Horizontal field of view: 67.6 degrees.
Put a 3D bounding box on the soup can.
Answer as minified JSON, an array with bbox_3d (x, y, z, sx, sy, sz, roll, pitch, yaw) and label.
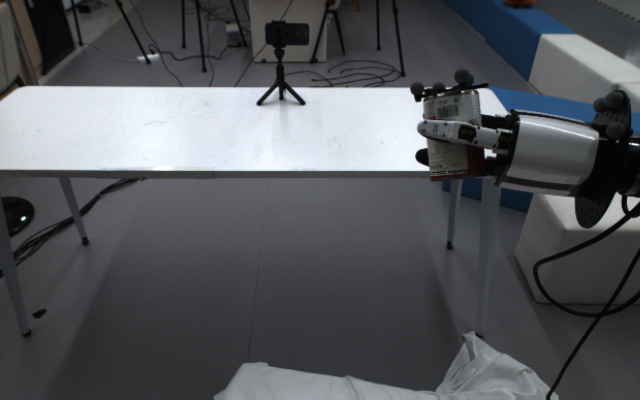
[{"bbox_3d":[0.165,-0.077,0.591,0.067,0.101,0.067,-6,3,0],"label":"soup can"}]
